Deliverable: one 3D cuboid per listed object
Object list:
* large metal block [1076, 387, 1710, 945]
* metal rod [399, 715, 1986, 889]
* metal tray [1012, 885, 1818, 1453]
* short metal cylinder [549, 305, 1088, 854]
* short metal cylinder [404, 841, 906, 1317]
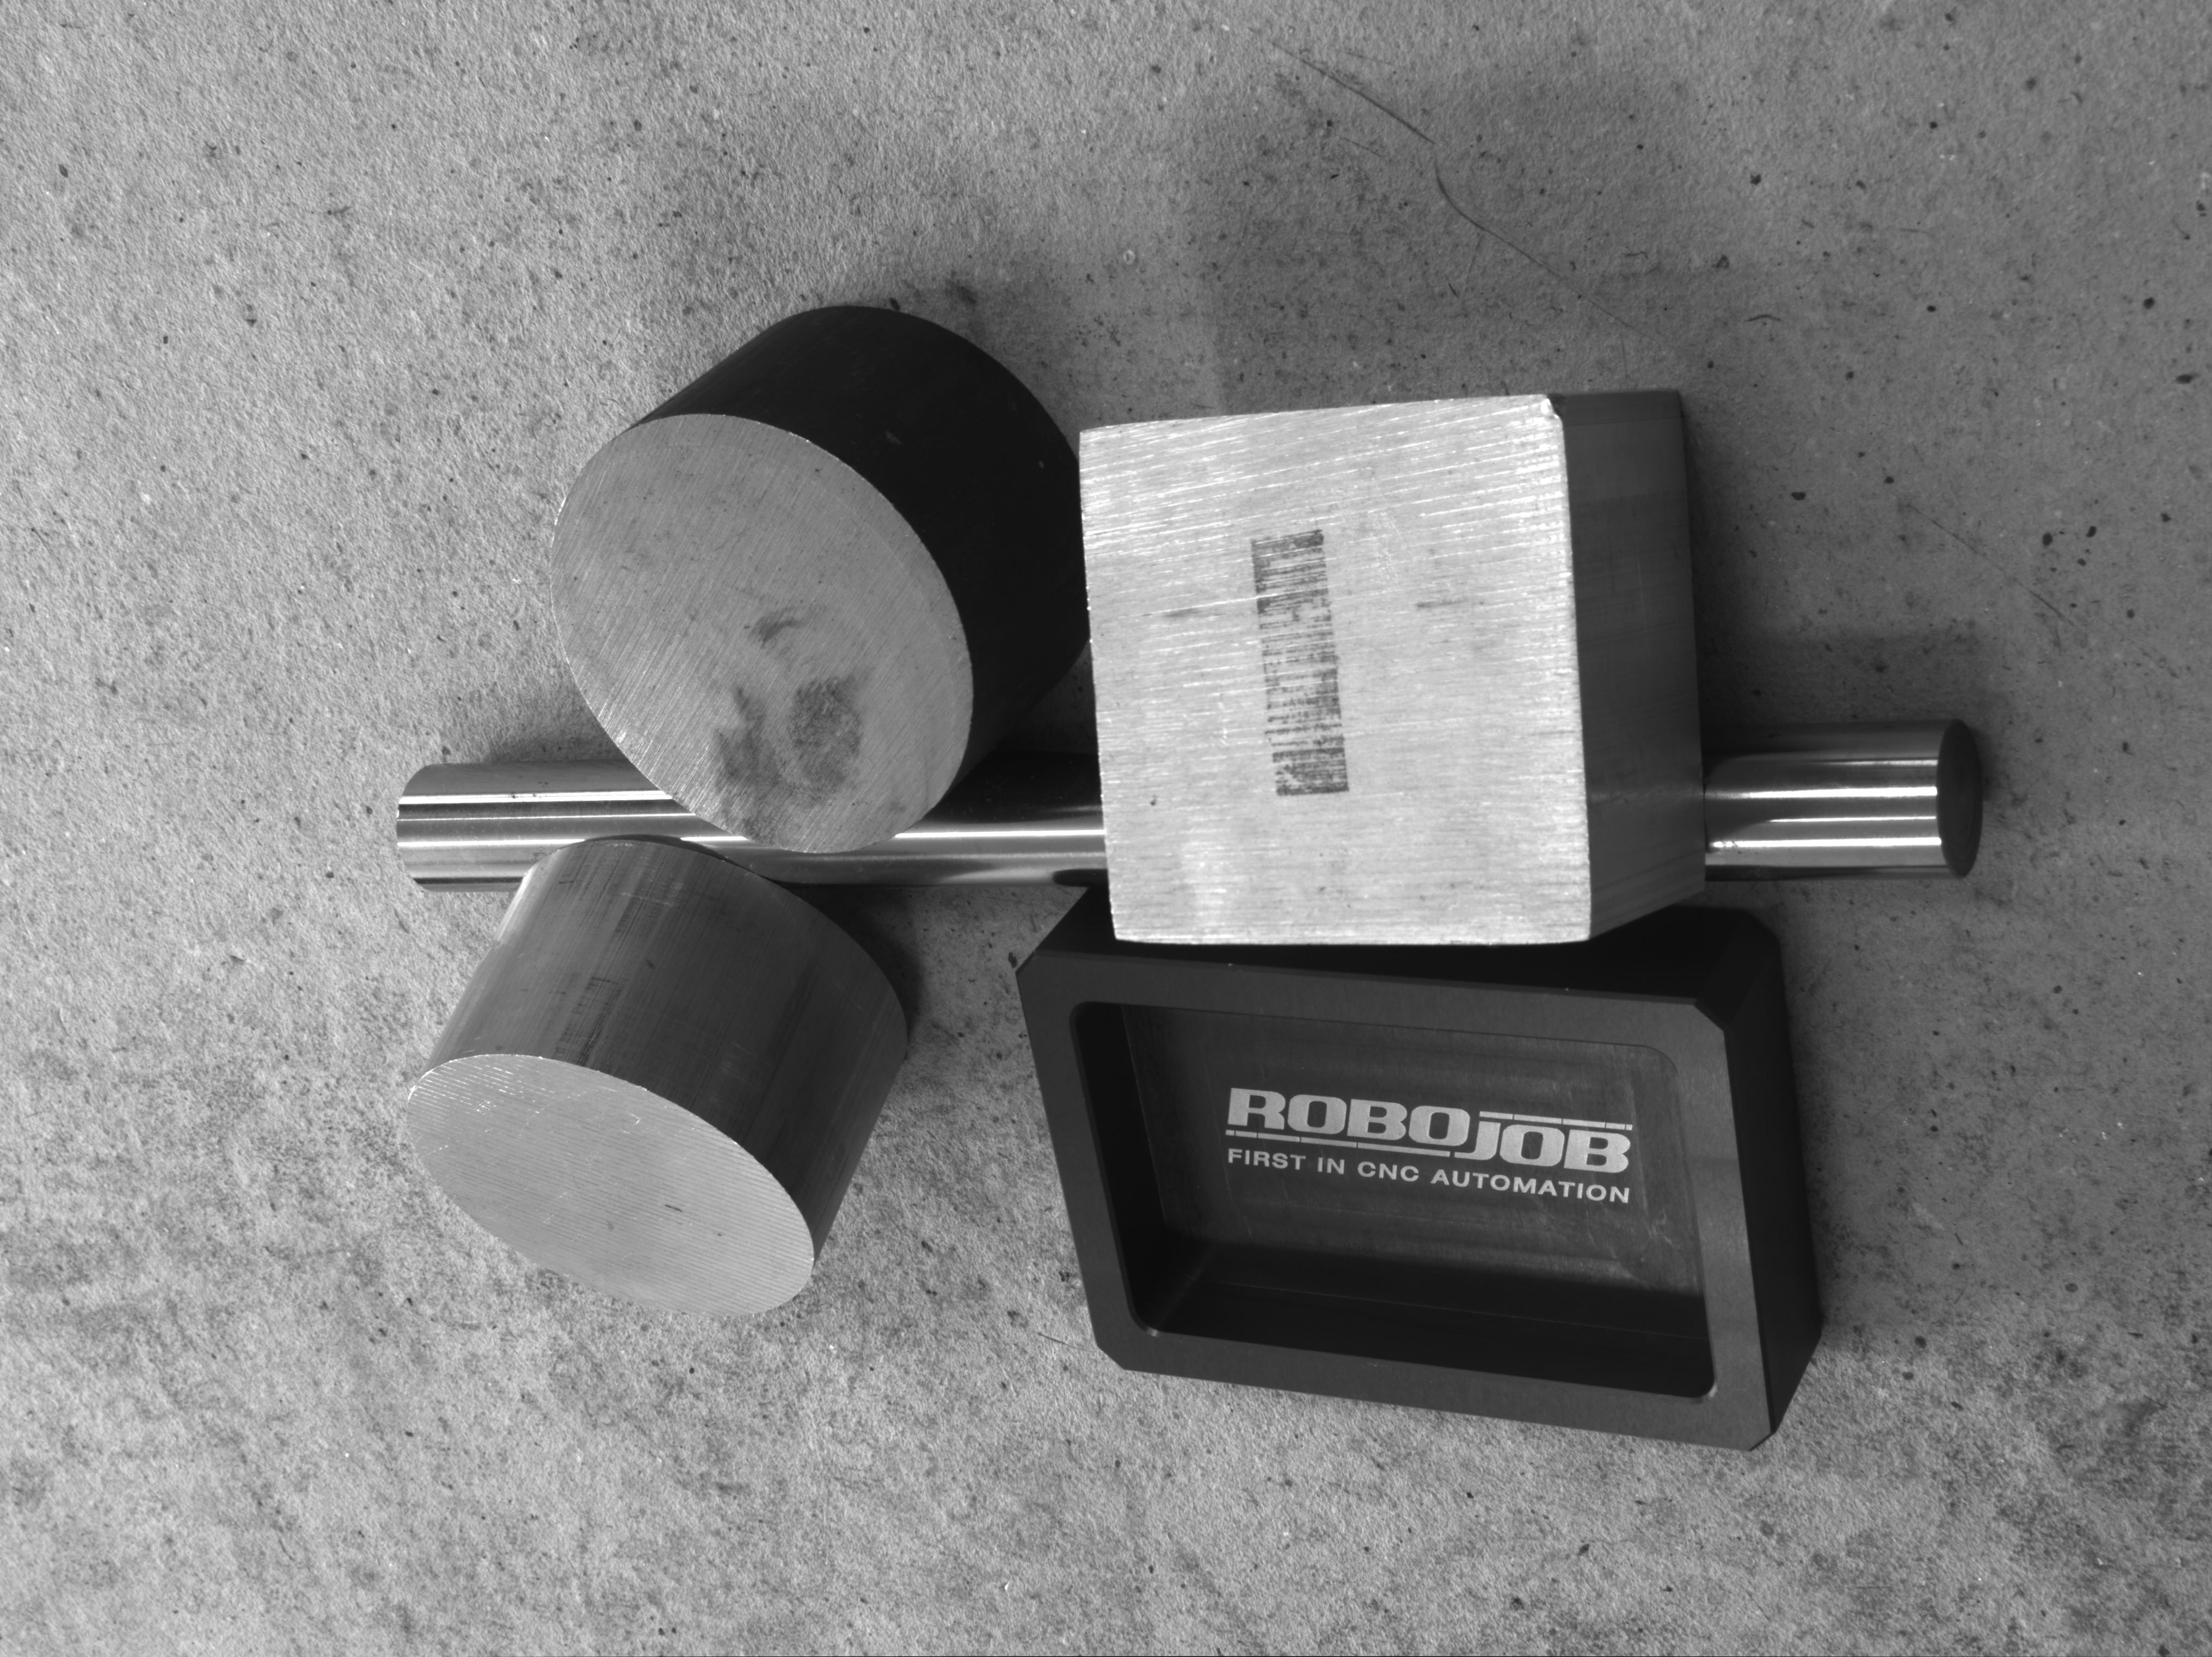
[{"bbox_3d":[0.045,-0.025,0.571,0.080,0.050,0.080,-1,97,29],"label":"large metal block"},{"bbox_3d":[0.002,-0.003,0.642,0.299,0.025,0.025,-1,118,29],"label":"metal rod"},{"bbox_3d":[0.054,0.057,0.645,0.130,0.030,0.090,3,120,27],"label":"metal tray"},{"bbox_3d":[-0.047,-0.043,0.627,0.080,0.050,0.080,13,123,21],"label":"short metal cylinder"},{"bbox_3d":[-0.083,0.047,0.685,0.080,0.050,0.080,14,144,11],"label":"short metal cylinder"}]
